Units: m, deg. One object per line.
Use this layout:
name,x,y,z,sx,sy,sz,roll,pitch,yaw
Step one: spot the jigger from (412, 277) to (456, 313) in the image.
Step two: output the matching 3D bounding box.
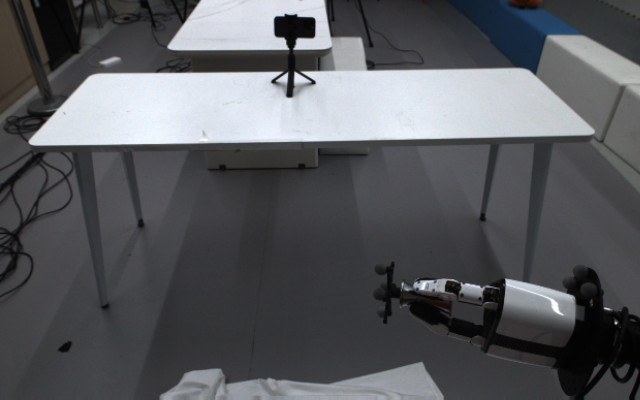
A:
jigger,0.153,0.127,0.662,0.071,0.043,0.043,4,34,15
